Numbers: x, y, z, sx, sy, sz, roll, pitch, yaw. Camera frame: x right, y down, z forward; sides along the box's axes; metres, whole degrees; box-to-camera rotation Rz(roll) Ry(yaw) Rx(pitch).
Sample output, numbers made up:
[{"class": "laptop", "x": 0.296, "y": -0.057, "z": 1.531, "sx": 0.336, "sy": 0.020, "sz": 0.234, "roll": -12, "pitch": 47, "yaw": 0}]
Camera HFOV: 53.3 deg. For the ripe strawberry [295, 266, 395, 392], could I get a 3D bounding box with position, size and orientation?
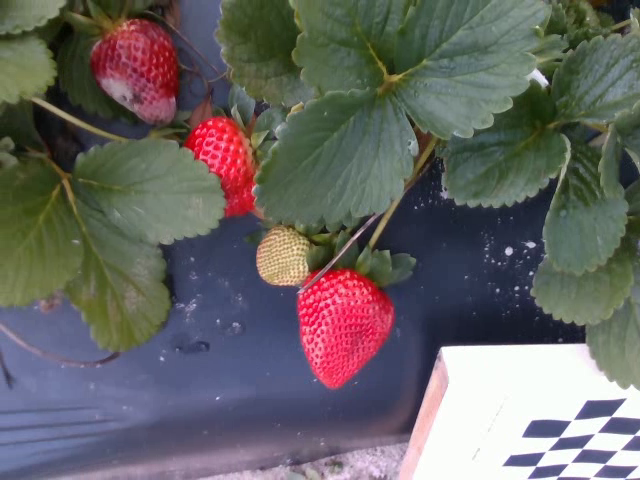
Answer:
[{"class": "ripe strawberry", "x": 0.010, "y": 0.047, "z": 0.316, "sx": 0.057, "sy": 0.065, "sz": 0.056, "roll": -13, "pitch": -37, "yaw": 37}]
